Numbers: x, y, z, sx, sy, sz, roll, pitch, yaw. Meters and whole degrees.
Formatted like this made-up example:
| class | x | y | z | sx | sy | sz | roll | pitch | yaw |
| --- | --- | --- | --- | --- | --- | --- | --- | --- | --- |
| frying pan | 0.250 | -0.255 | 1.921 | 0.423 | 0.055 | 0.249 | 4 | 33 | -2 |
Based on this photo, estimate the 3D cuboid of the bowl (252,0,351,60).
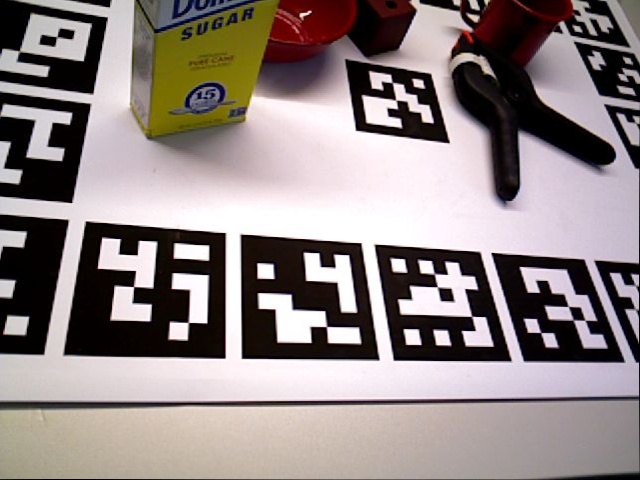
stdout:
| class | x | y | z | sx | sy | sz | roll | pitch | yaw |
| --- | --- | --- | --- | --- | --- | --- | --- | --- | --- |
| bowl | -0.053 | -0.231 | 0.535 | 0.160 | 0.056 | 0.159 | 9 | 59 | -15 |

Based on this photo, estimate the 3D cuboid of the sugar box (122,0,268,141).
| class | x | y | z | sx | sy | sz | roll | pitch | yaw |
| --- | --- | --- | --- | --- | --- | --- | --- | --- | --- |
| sugar box | -0.094 | -0.153 | 0.401 | 0.091 | 0.181 | 0.045 | -19 | 70 | -29 |

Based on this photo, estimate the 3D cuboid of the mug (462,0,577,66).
| class | x | y | z | sx | sy | sz | roll | pitch | yaw |
| --- | --- | --- | --- | --- | --- | --- | --- | --- | --- |
| mug | 0.218 | -0.262 | 0.625 | 0.117 | 0.083 | 0.091 | 28 | 55 | -5 |

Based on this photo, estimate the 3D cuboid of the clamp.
| class | x | y | z | sx | sy | sz | roll | pitch | yaw |
| --- | --- | --- | --- | --- | --- | --- | --- | --- | --- |
| clamp | 0.193 | -0.145 | 0.572 | 0.162 | 0.037 | 0.202 | -19 | 70 | -25 |

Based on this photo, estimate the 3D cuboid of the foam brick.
| class | x | y | z | sx | sy | sz | roll | pitch | yaw |
| --- | --- | --- | --- | --- | --- | --- | --- | --- | --- |
| foam brick | 0.053 | -0.242 | 0.586 | 0.052 | 0.052 | 0.078 | -23 | 71 | -28 |
